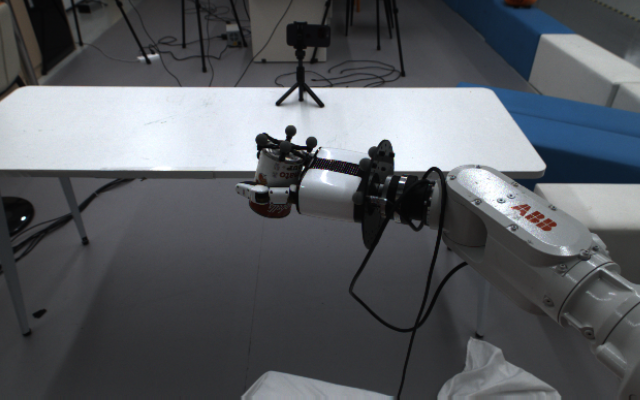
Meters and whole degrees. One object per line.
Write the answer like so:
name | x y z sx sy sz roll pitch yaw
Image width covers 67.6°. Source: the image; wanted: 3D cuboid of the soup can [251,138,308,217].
soup can | -0.065 -0.032 0.735 0.067 0.101 0.067 13 31 -8
